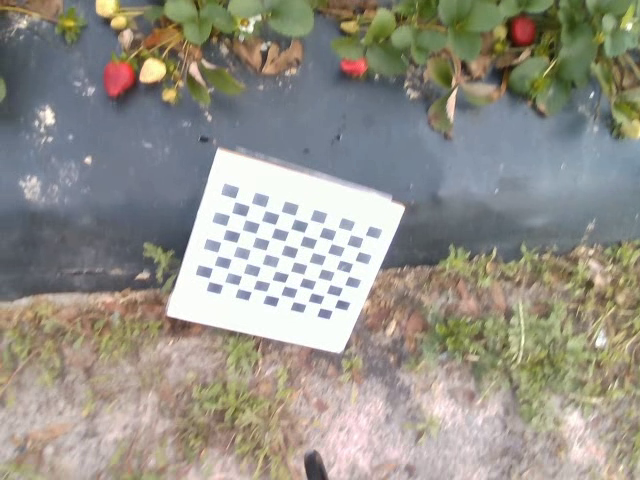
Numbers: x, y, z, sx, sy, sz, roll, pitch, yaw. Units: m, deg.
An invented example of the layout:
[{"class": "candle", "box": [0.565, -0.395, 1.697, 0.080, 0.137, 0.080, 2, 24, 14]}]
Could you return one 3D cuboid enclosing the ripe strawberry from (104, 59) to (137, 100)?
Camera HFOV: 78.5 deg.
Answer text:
[{"class": "ripe strawberry", "box": [-0.276, -0.219, 0.525, 0.050, 0.059, 0.034, 5, -28, -5]}]
